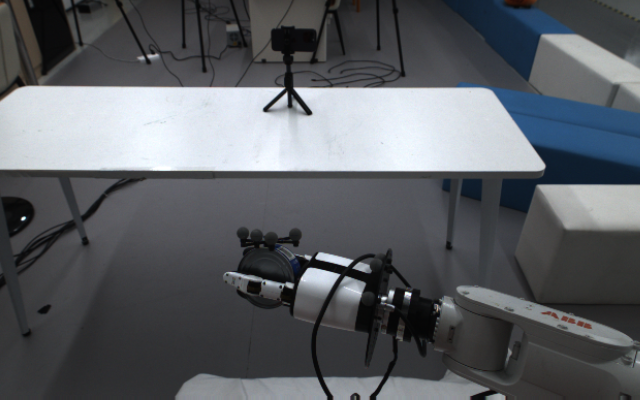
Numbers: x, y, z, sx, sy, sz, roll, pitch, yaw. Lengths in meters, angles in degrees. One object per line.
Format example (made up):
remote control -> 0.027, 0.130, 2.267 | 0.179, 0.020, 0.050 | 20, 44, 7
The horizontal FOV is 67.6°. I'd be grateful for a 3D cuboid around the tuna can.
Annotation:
tuna can -> -0.068, 0.105, 0.670 | 0.085, 0.085, 0.034 | 15, 10, 18
